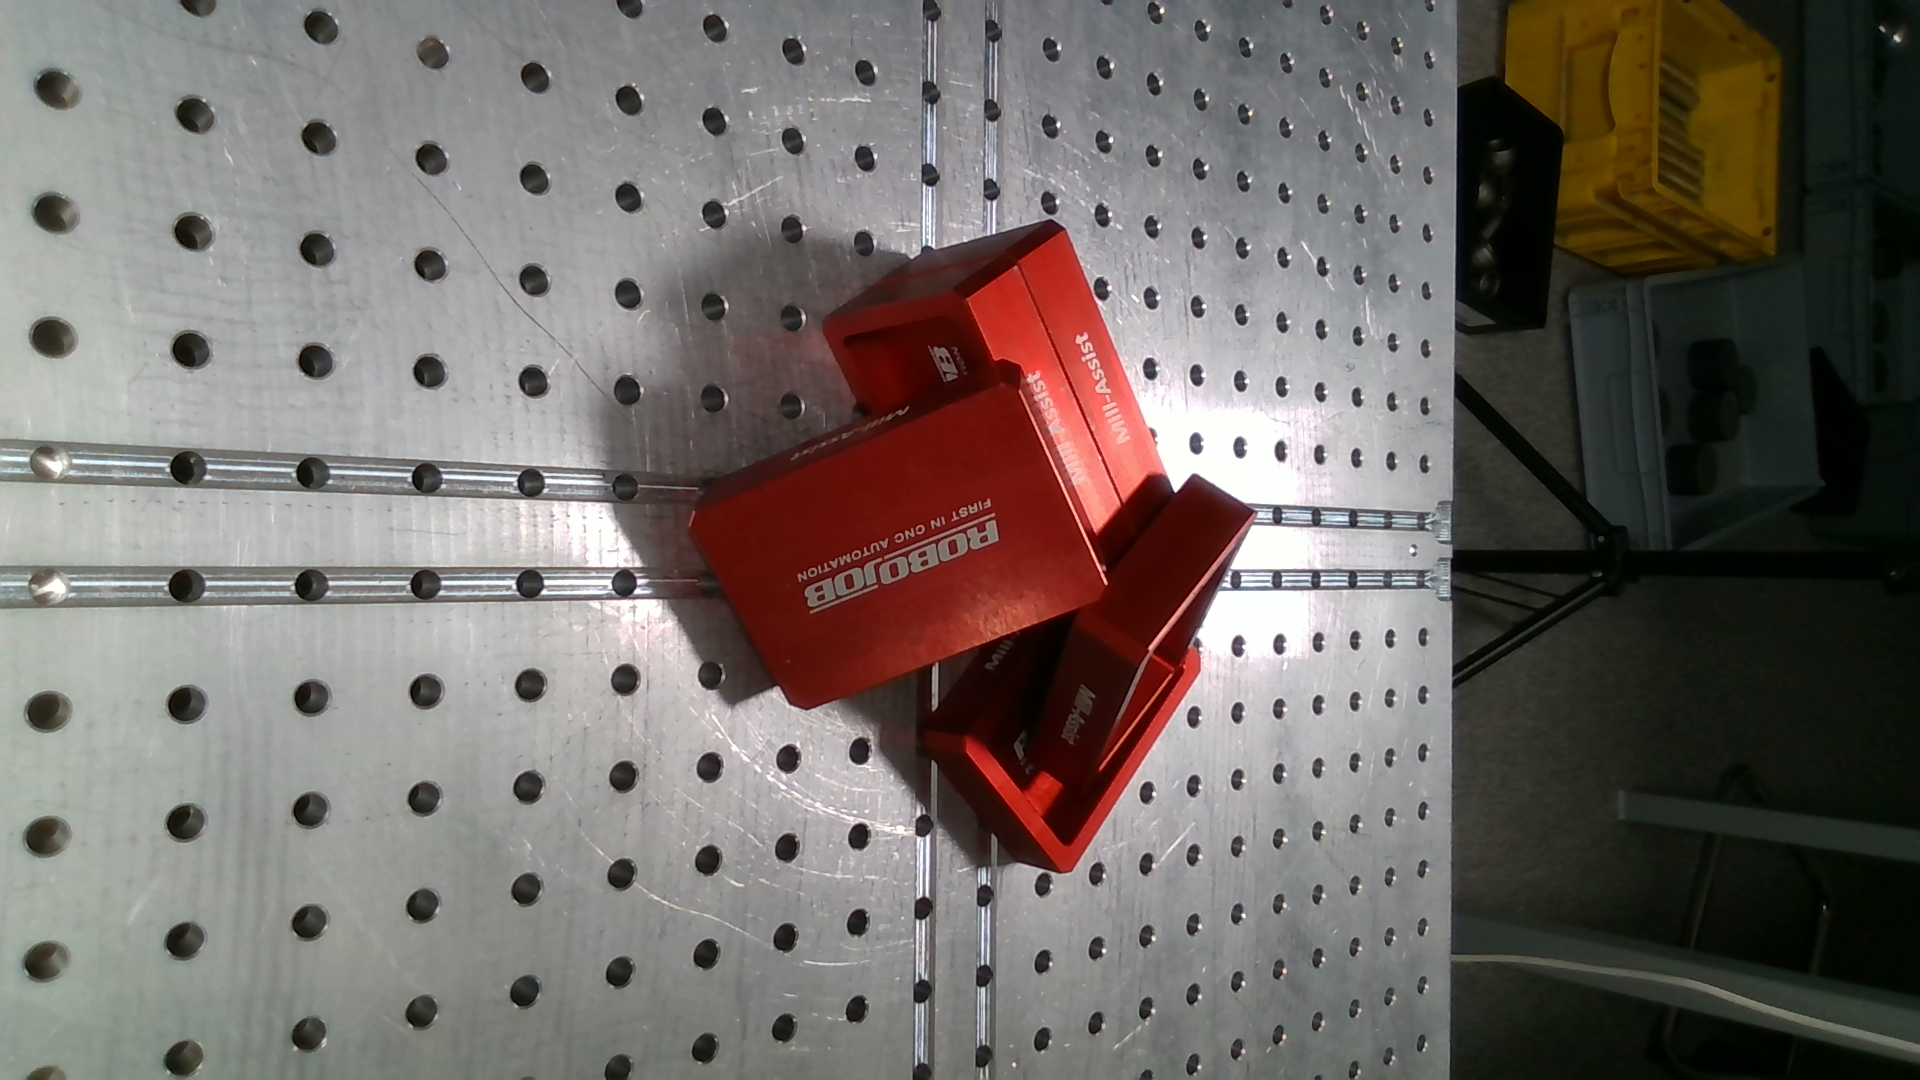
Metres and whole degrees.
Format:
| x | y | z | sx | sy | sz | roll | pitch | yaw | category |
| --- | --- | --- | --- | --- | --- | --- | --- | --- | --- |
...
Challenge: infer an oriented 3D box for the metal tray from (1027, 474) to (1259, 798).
| x | y | z | sx | sy | sz | roll | pitch | yaw | category |
| --- | --- | --- | --- | --- | --- | --- | --- | --- | --- |
| 0.074 | 0.043 | 0.574 | 0.090 | 0.030 | 0.130 | -47 | 163 | -30 | metal tray |

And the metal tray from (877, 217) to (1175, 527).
| x | y | z | sx | sy | sz | roll | pitch | yaw | category |
| --- | --- | --- | --- | --- | --- | --- | --- | --- | --- |
| 0.027 | -0.059 | 0.565 | 0.030 | 0.090 | 0.130 | -40 | 115 | -33 | metal tray |

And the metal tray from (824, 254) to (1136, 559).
| x | y | z | sx | sy | sz | roll | pitch | yaw | category |
| --- | --- | --- | --- | --- | --- | --- | --- | --- | --- |
| 0.008 | -0.042 | 0.548 | 0.030 | 0.090 | 0.130 | -40 | 115 | -33 | metal tray |

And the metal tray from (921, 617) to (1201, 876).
| x | y | z | sx | sy | sz | roll | pitch | yaw | category |
| --- | --- | --- | --- | --- | --- | --- | --- | --- | --- |
| 0.049 | 0.073 | 0.623 | 0.130 | 0.030 | 0.090 | -51 | 120 | -28 | metal tray |

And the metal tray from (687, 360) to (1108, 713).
| x | y | z | sx | sy | sz | roll | pitch | yaw | category |
| --- | --- | --- | --- | --- | --- | --- | --- | --- | --- |
| -0.022 | 0.001 | 0.507 | 0.030 | 0.130 | 0.090 | -82 | 149 | -66 | metal tray |
